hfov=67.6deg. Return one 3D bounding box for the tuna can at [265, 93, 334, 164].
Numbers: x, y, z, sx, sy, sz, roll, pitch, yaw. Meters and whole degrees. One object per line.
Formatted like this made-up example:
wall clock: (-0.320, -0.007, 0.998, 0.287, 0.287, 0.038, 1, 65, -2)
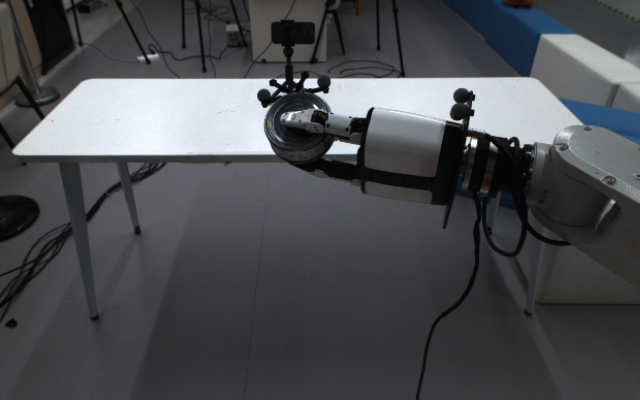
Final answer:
tuna can: (-0.021, -0.085, 0.597, 0.085, 0.034, 0.085, -4, 68, 9)
